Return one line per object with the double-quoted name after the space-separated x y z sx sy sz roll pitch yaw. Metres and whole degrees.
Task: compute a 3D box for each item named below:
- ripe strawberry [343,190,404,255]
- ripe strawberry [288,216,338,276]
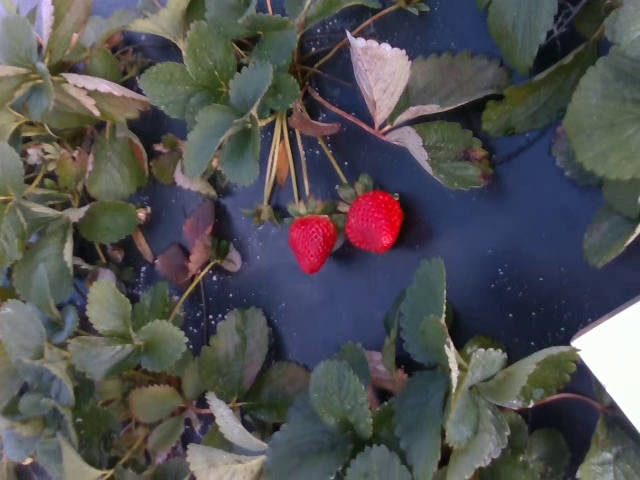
0.039 -0.010 0.468 0.051 0.058 0.064 16 23 -28 "ripe strawberry"
-0.007 0.005 0.508 0.048 0.056 0.041 -27 -34 33 "ripe strawberry"
